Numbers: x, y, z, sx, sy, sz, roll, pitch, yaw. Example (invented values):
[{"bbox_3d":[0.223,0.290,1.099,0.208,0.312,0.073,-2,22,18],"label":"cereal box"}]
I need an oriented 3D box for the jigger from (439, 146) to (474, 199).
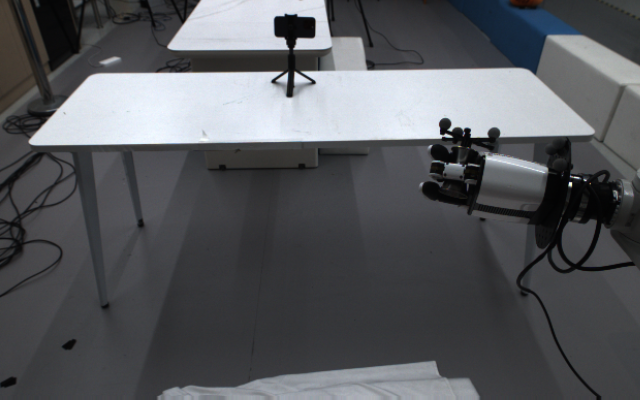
[{"bbox_3d":[0.206,-0.041,0.712,0.043,0.071,0.043,16,-7,2],"label":"jigger"}]
